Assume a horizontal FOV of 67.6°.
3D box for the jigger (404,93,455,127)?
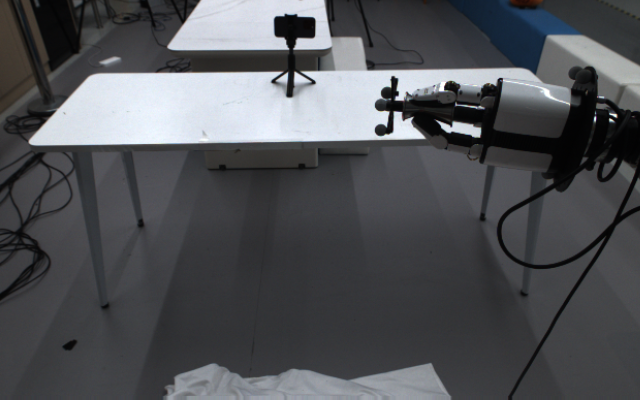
[{"bbox_3d":[0.157,-0.131,0.667,0.071,0.043,0.043,8,35,14],"label":"jigger"}]
